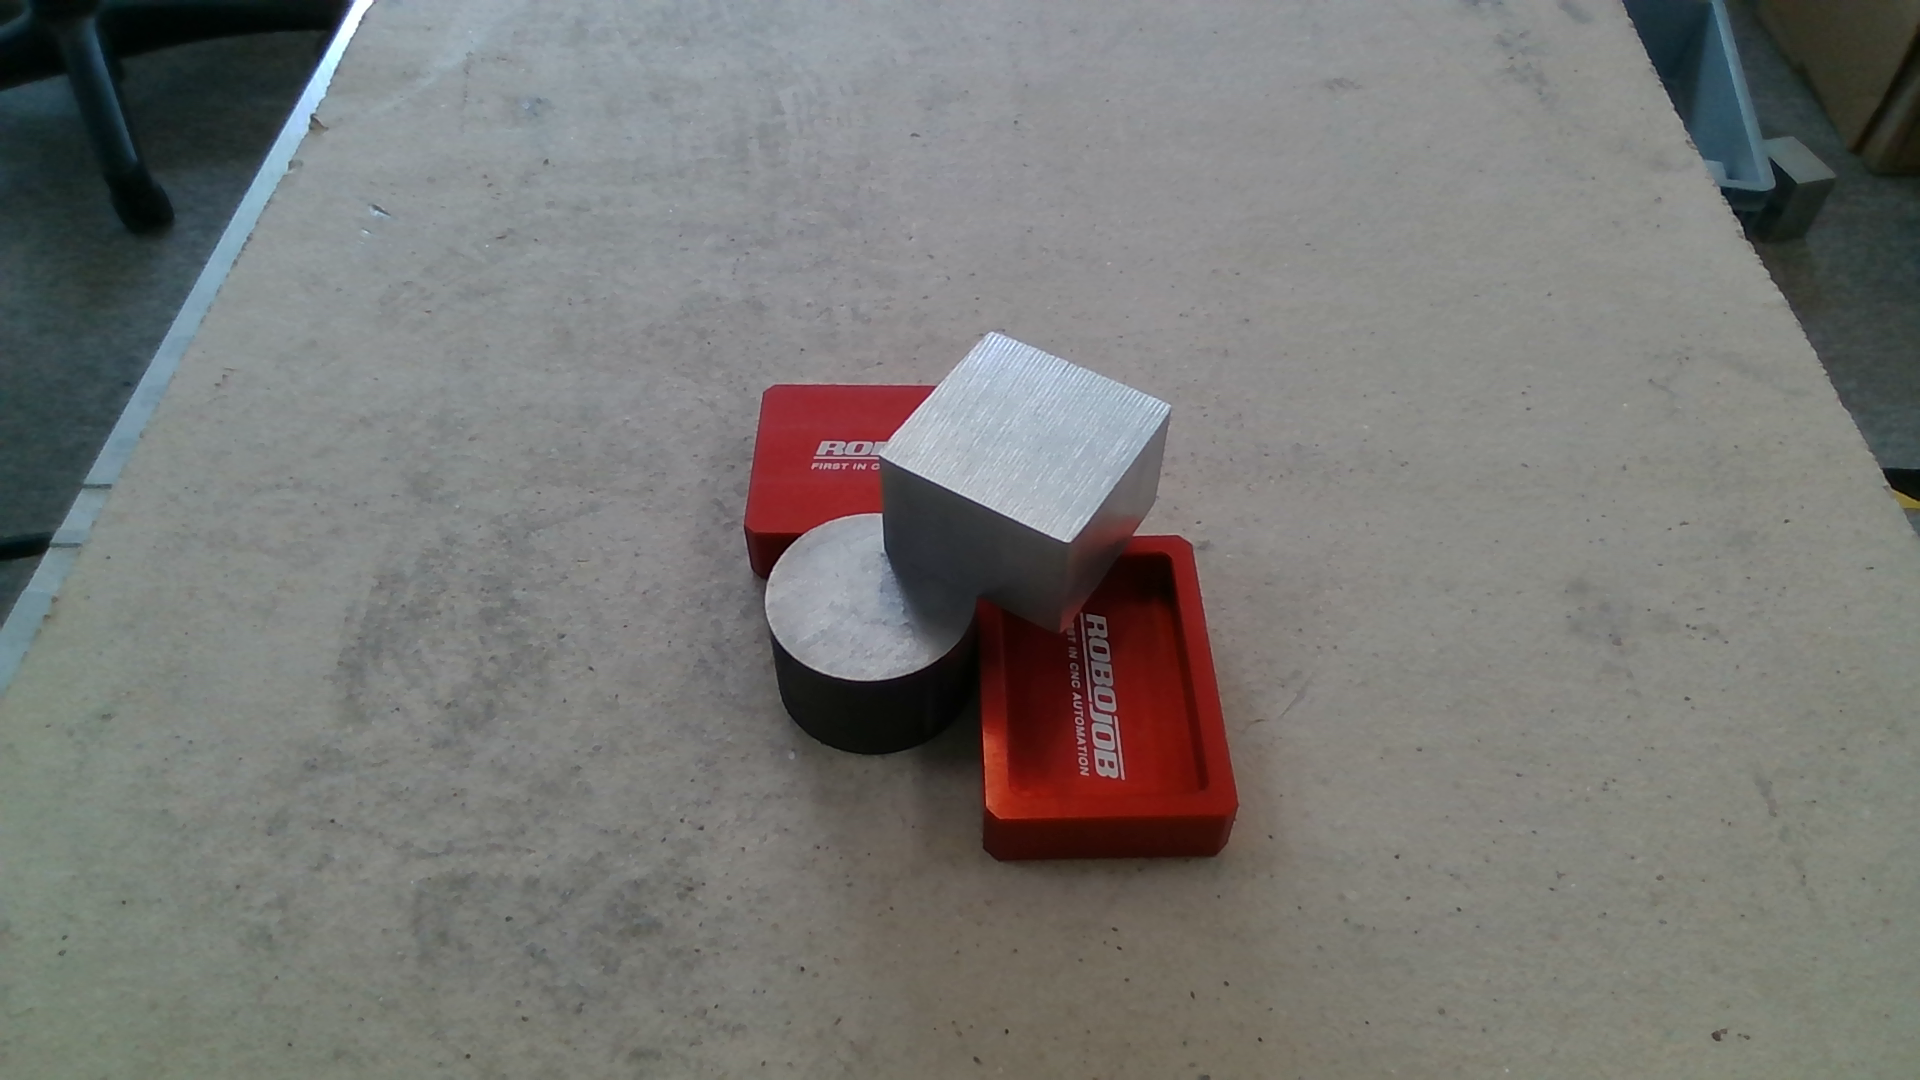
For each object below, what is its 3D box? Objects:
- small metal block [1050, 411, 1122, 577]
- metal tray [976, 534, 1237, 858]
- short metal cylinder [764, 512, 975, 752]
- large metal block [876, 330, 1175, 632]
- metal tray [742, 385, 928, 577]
[{"bbox_3d":[0.053,-0.019,0.588,0.025,0.050,0.050,1,50,1],"label":"small metal block"},{"bbox_3d":[0.052,0.057,0.536,0.090,0.030,0.130,-1,50,-1],"label":"metal tray"},{"bbox_3d":[-0.034,0.036,0.541,0.080,0.050,0.080,0,50,0],"label":"short metal cylinder"},{"bbox_3d":[0.025,-0.024,0.525,0.080,0.050,0.080,26,55,20],"label":"large metal block"},{"bbox_3d":[-0.025,-0.027,0.608,0.130,0.030,0.090,0,50,0],"label":"metal tray"}]
